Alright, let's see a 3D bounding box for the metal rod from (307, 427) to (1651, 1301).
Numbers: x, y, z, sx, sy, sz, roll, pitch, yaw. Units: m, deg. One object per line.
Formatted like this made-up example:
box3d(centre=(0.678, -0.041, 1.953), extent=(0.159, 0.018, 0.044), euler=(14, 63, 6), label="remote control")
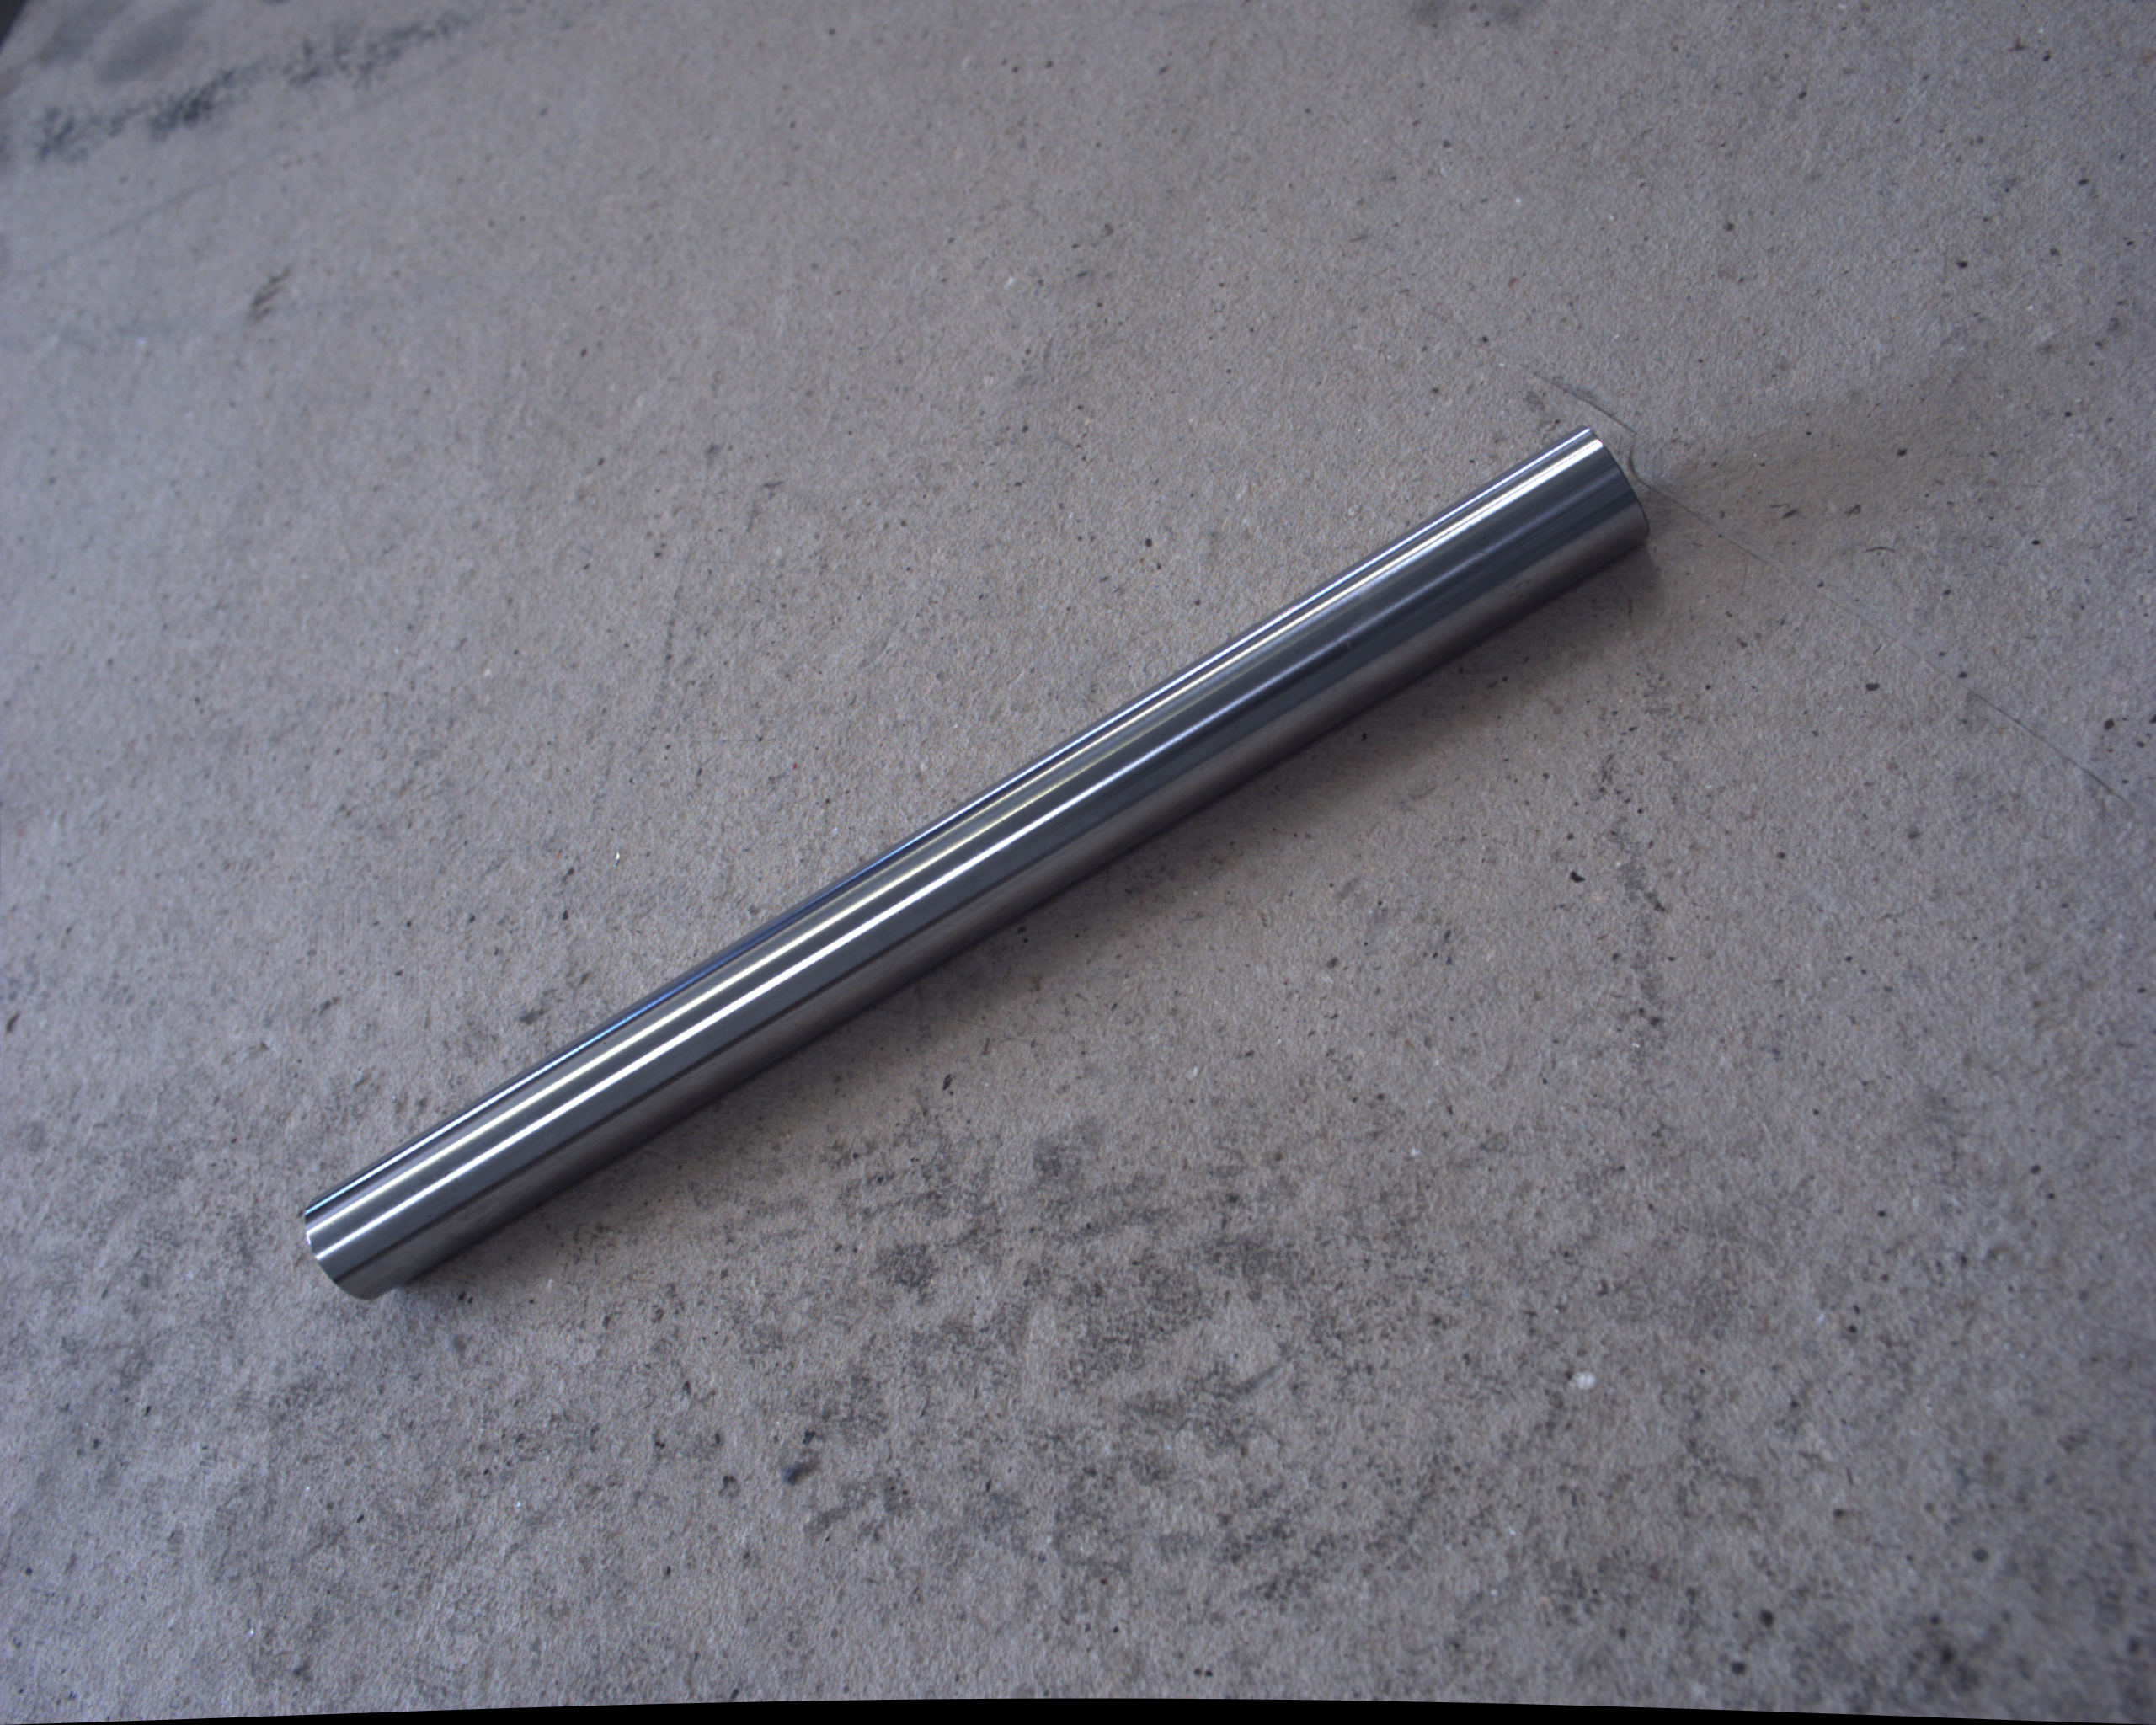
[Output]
box3d(centre=(-0.025, 0.004, 0.417), extent=(0.300, 0.025, 0.025), euler=(-31, 52, 8), label="metal rod")
